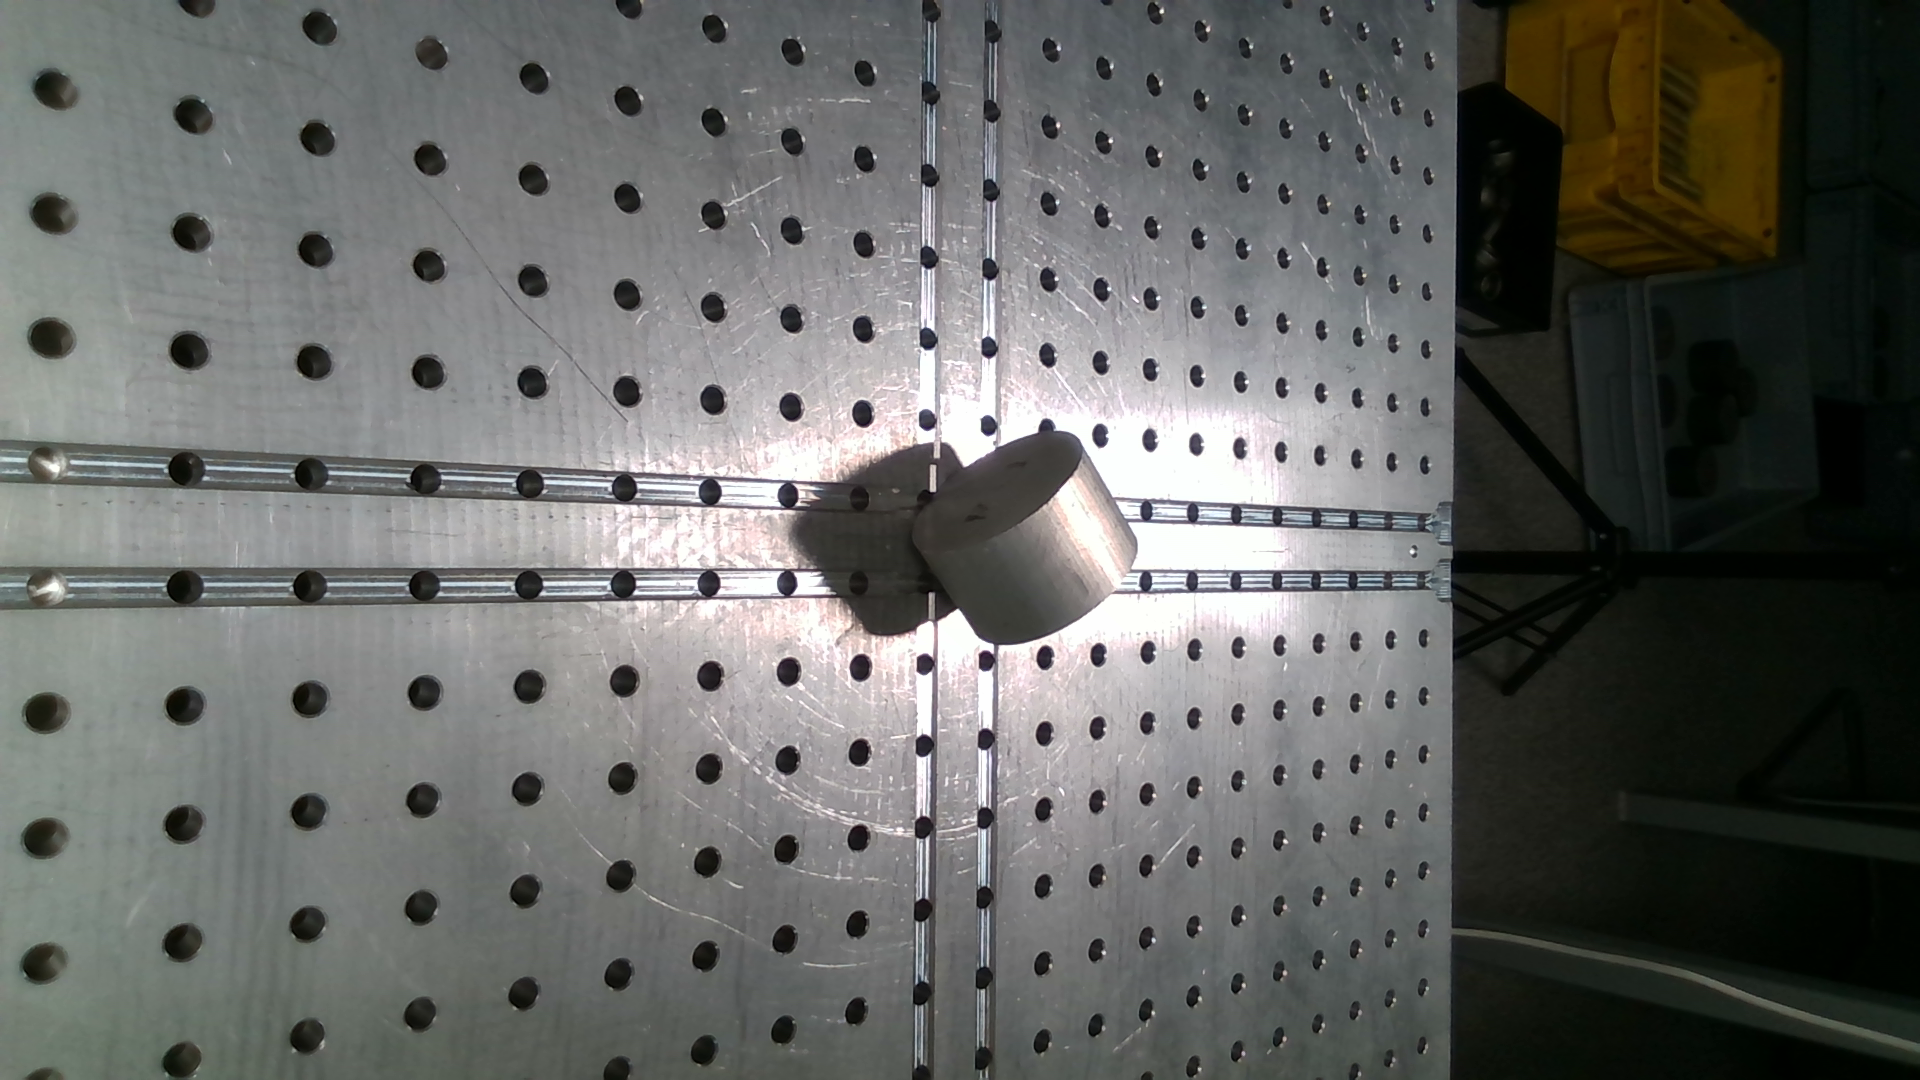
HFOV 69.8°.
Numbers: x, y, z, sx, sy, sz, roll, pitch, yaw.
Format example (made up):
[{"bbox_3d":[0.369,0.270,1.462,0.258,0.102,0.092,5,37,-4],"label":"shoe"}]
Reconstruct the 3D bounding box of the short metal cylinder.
[{"bbox_3d":[0.027,-0.002,0.572,0.080,0.080,0.050,-48,119,-30],"label":"short metal cylinder"}]
